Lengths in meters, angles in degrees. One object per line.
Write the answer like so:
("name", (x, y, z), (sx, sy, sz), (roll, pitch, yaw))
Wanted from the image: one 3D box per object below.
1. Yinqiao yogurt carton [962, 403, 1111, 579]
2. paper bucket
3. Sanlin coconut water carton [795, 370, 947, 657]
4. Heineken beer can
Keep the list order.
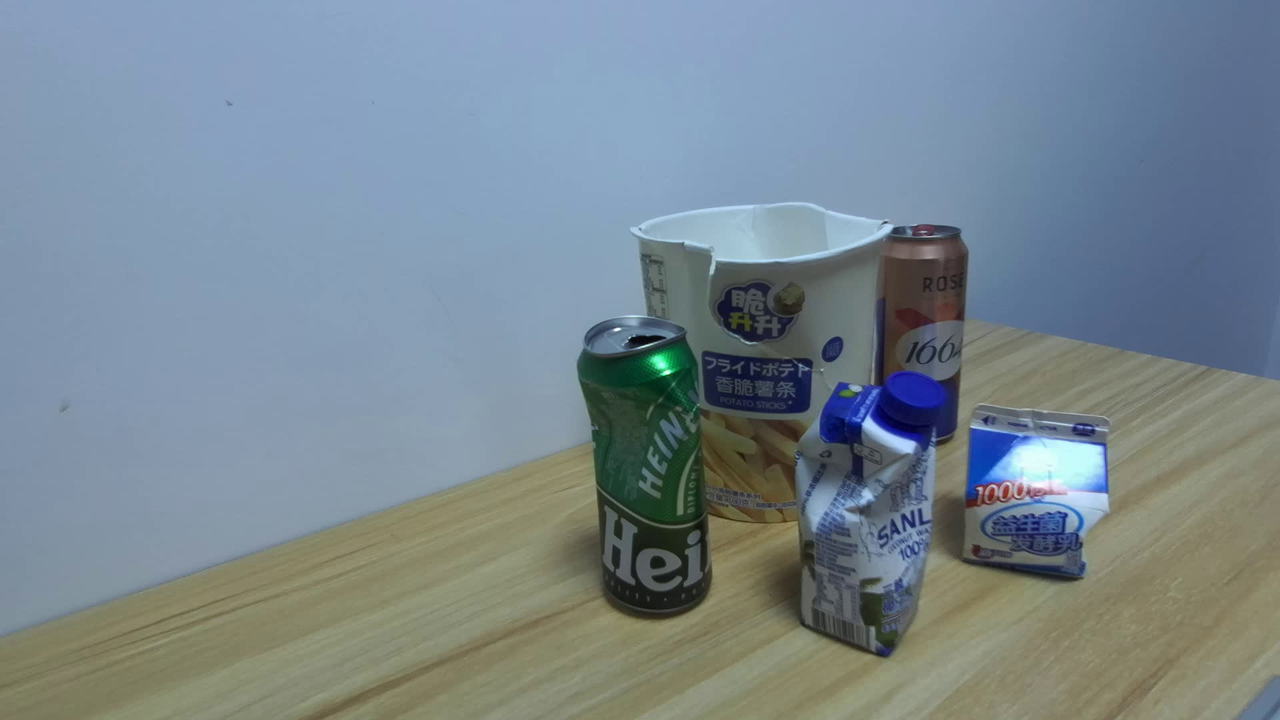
("Yinqiao yogurt carton", (0.232, 0.071, 0.416), (0.074, 0.097, 0.080), (4, 27, 22))
("paper bucket", (0.087, -0.004, 0.508), (0.146, 0.197, 0.202), (-13, 21, -19))
("Sanlin coconut water carton", (0.114, 0.073, 0.360), (0.069, 0.144, 0.061), (12, 27, 37))
("Heineken beer can", (0.003, 0.060, 0.399), (0.066, 0.164, 0.077), (-5, 22, 4))
